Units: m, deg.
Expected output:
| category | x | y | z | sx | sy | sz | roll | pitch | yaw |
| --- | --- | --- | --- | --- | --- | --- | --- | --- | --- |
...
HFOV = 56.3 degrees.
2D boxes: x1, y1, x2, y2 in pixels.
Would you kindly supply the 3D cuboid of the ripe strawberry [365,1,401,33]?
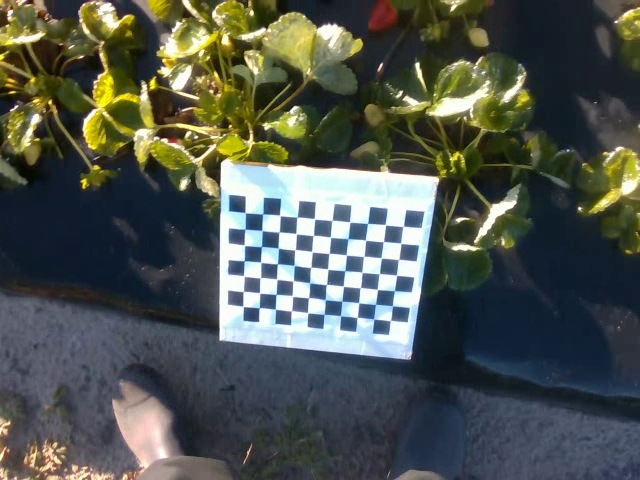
| category | x | y | z | sx | sy | sz | roll | pitch | yaw |
| --- | --- | --- | --- | --- | --- | --- | --- | --- | --- |
| ripe strawberry | 0.072 | -0.271 | 0.739 | 0.039 | 0.047 | 0.040 | 42 | 2 | -10 |
